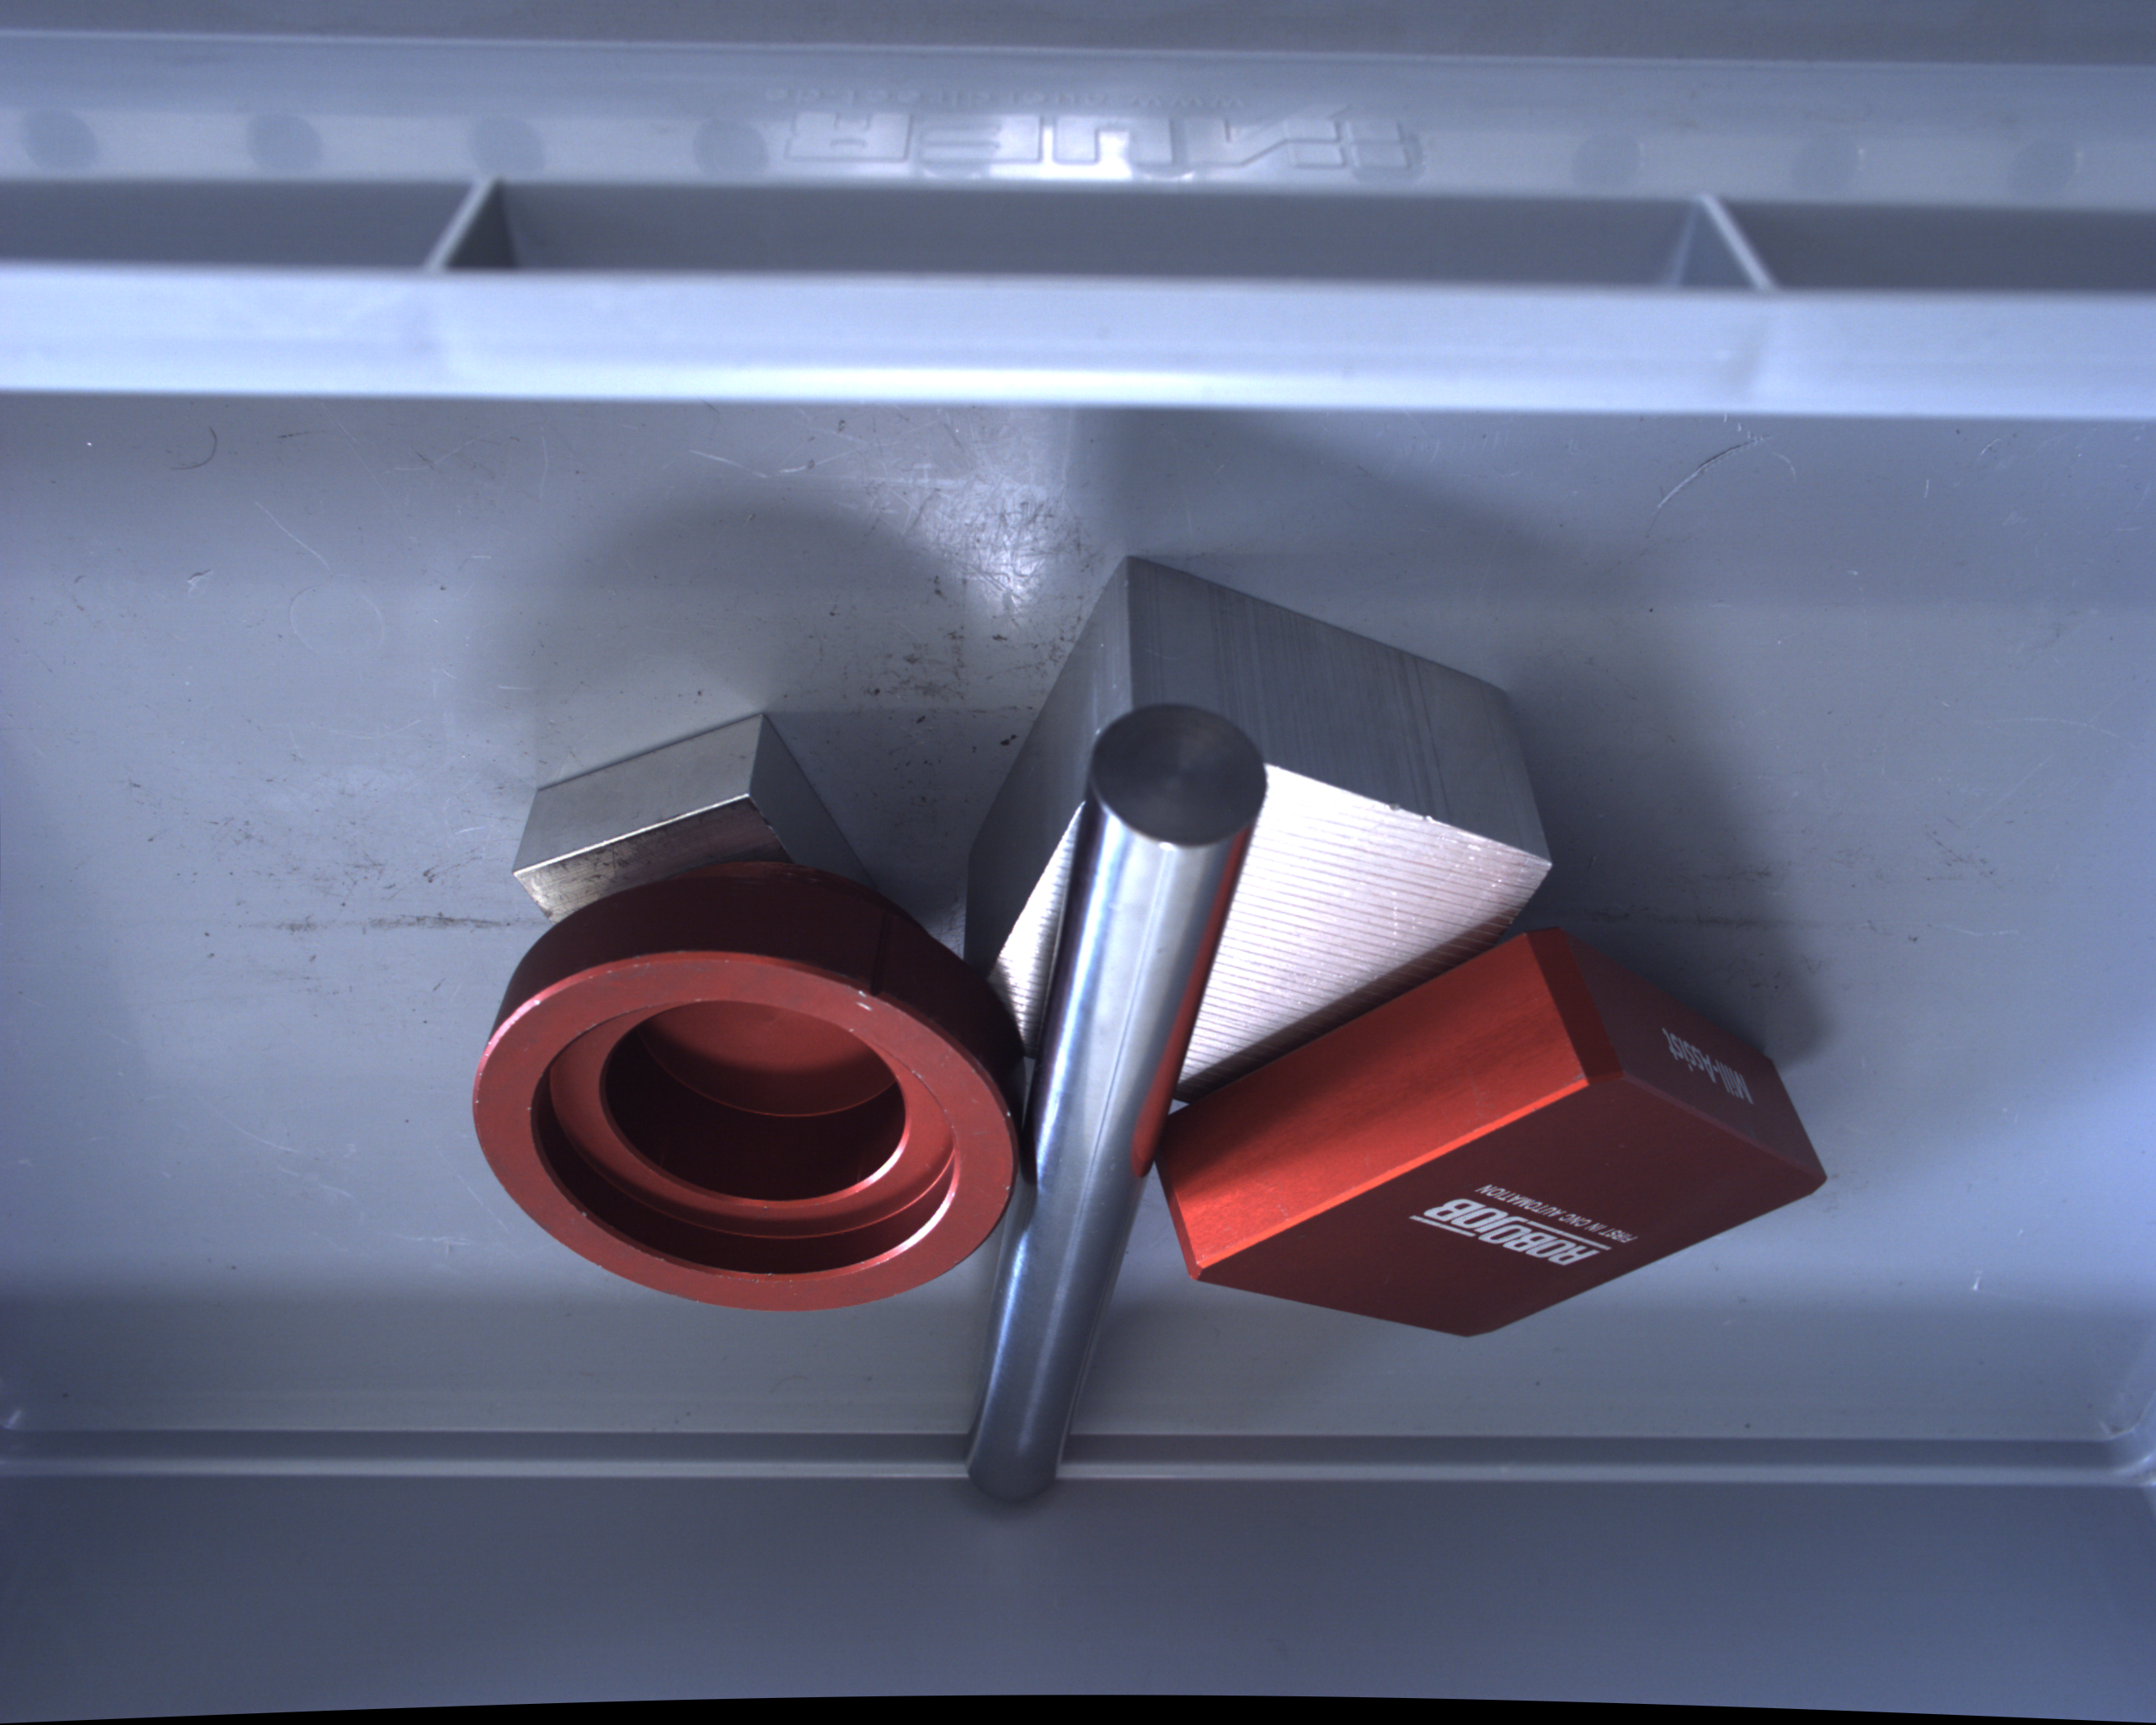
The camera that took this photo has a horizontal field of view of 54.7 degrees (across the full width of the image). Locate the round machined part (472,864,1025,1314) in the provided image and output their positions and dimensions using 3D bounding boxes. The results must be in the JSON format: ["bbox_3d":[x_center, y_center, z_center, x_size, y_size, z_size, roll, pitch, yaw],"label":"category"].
[{"bbox_3d":[-0.059,0.039,0.392,0.099,0.042,0.097,2,131,2],"label":"round machined part"}]

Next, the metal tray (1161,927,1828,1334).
[{"bbox_3d":[0.087,0.060,0.423,0.090,0.030,0.131,-31,149,24],"label":"metal tray"}]

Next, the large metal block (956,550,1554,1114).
[{"bbox_3d":[0.029,-0.001,0.391,0.081,0.050,0.079,18,128,-15],"label":"large metal block"}]

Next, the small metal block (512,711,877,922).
[{"bbox_3d":[-0.074,0.004,0.410,0.050,0.025,0.050,-17,128,14],"label":"small metal block"}]

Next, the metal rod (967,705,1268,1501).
[{"bbox_3d":[-0.001,0.070,0.414,0.025,0.025,0.298,5,146,-4],"label":"metal rod"}]
